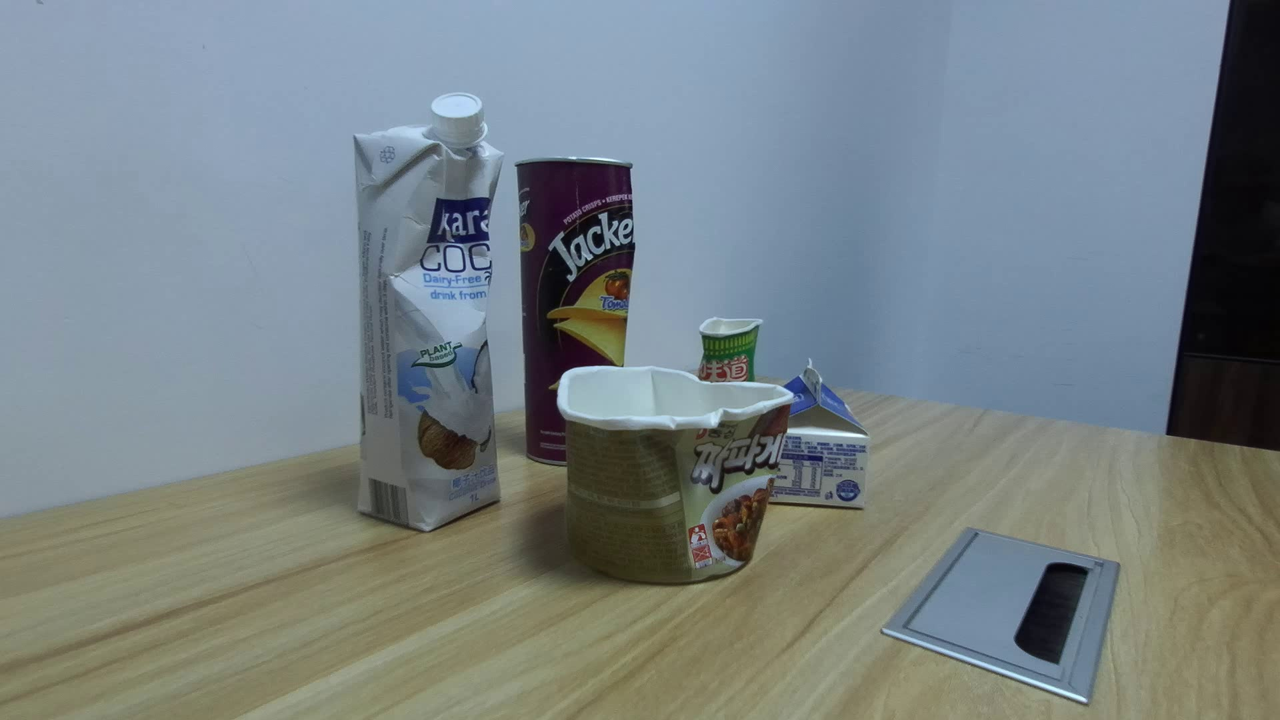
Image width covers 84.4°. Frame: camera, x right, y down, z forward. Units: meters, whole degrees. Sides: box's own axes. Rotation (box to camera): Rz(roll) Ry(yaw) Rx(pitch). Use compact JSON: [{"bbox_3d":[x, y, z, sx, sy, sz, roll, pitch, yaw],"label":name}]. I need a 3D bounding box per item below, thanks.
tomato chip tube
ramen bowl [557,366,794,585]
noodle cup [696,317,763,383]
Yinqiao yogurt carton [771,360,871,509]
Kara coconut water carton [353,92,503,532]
[{"bbox_3d":[-0.053,-0.038,0.569,0.076,0.235,0.077,-4,8,-31],"label":"tomato chip tube"},{"bbox_3d":[0.007,0.059,0.396,0.113,0.097,0.134,11,12,39],"label":"ramen bowl"},{"bbox_3d":[0.072,0.018,0.623,0.070,0.111,0.115,10,11,31],"label":"noodle cup"},{"bbox_3d":[0.121,0.049,0.503,0.073,0.092,0.075,4,10,5],"label":"Yinqiao yogurt carton"},{"bbox_3d":[-0.130,-0.030,0.436,0.078,0.255,0.084,12,13,41],"label":"Kara coconut water carton"}]
